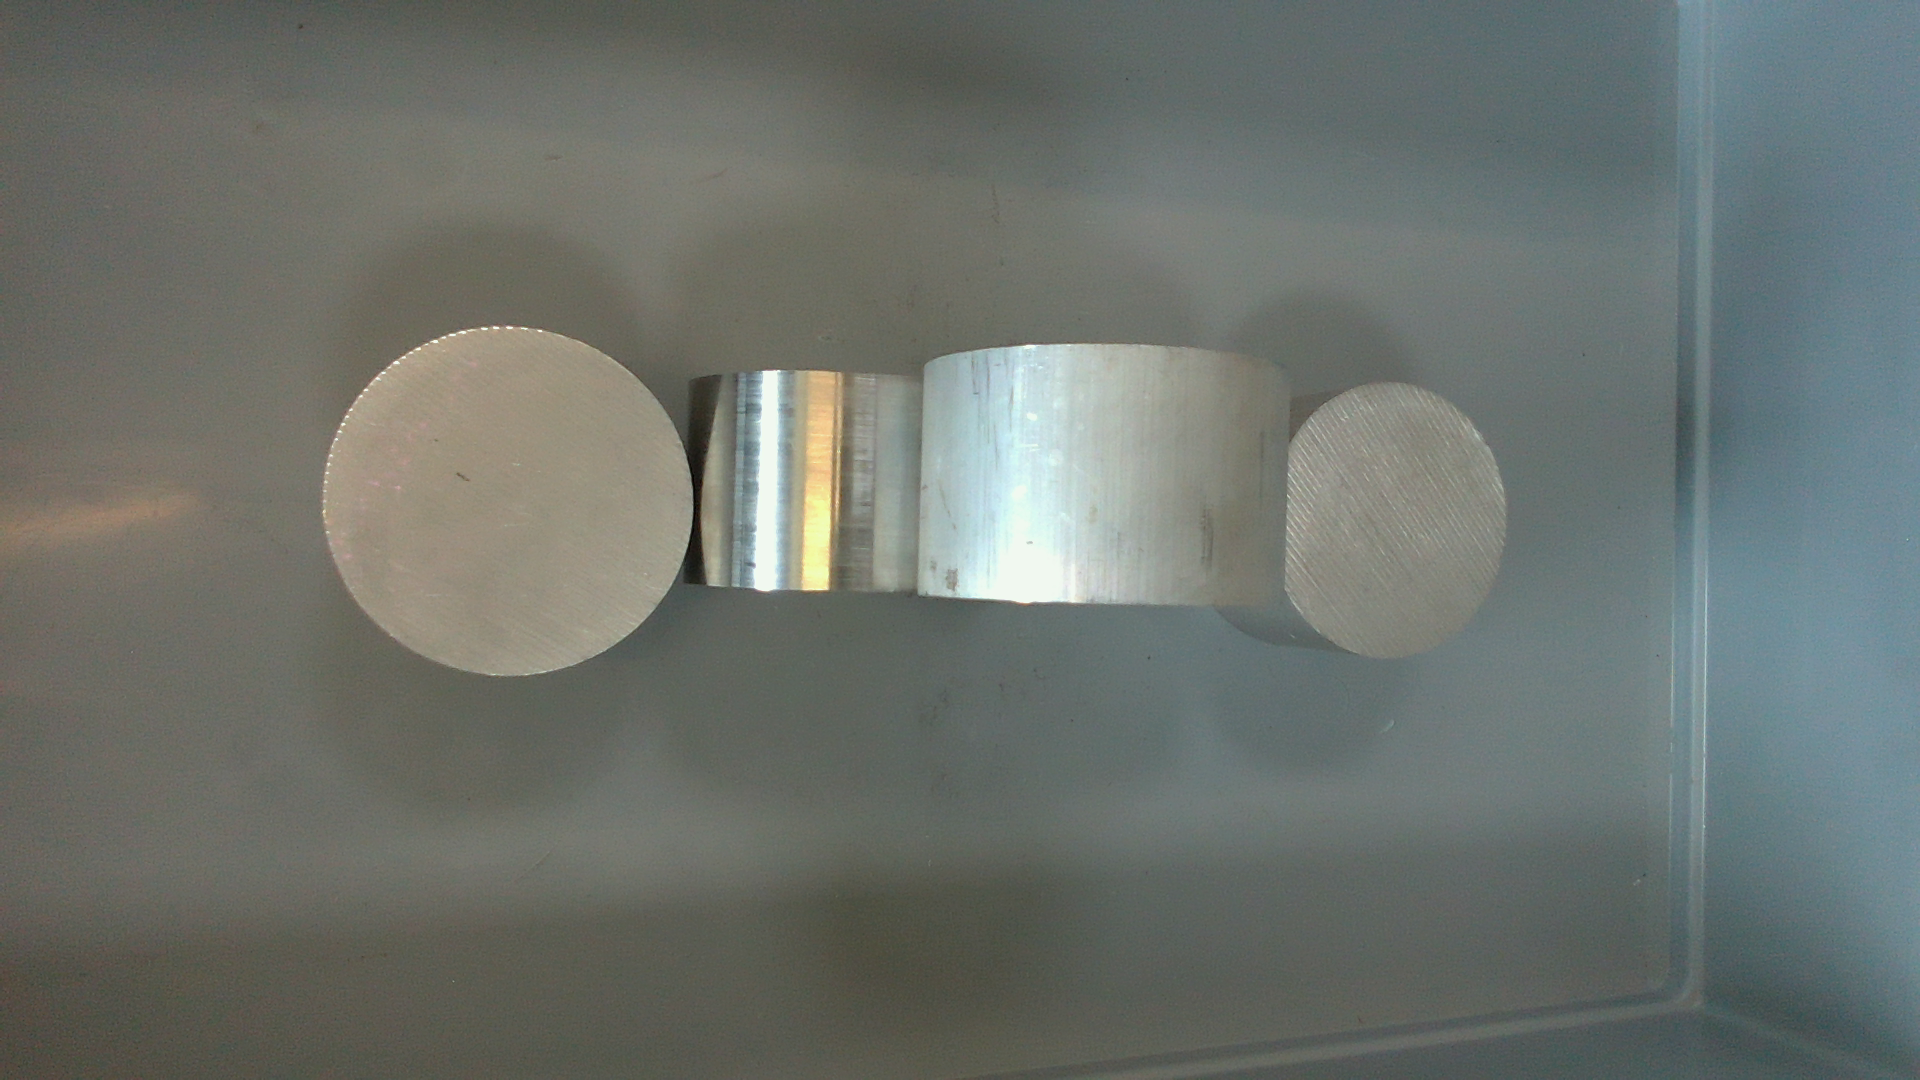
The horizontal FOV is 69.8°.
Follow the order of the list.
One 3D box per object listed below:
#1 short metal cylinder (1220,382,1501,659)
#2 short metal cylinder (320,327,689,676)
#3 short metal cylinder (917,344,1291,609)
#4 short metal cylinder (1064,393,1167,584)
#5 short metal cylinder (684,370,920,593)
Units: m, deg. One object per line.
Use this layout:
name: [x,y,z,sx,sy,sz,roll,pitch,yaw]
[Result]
short metal cylinder: [0.116,-0.006,0.421,0.080,0.050,0.080,0,90,-20]
short metal cylinder: [-0.111,-0.009,0.338,0.080,0.050,0.080,0,90,-20]
short metal cylinder: [0.031,-0.012,0.301,0.080,0.080,0.050,2,89,-20]
short metal cylinder: [0.046,-0.011,0.379,0.080,0.080,0.050,2,89,-20]
short metal cylinder: [-0.030,-0.013,0.352,0.080,0.080,0.050,2,89,-20]
